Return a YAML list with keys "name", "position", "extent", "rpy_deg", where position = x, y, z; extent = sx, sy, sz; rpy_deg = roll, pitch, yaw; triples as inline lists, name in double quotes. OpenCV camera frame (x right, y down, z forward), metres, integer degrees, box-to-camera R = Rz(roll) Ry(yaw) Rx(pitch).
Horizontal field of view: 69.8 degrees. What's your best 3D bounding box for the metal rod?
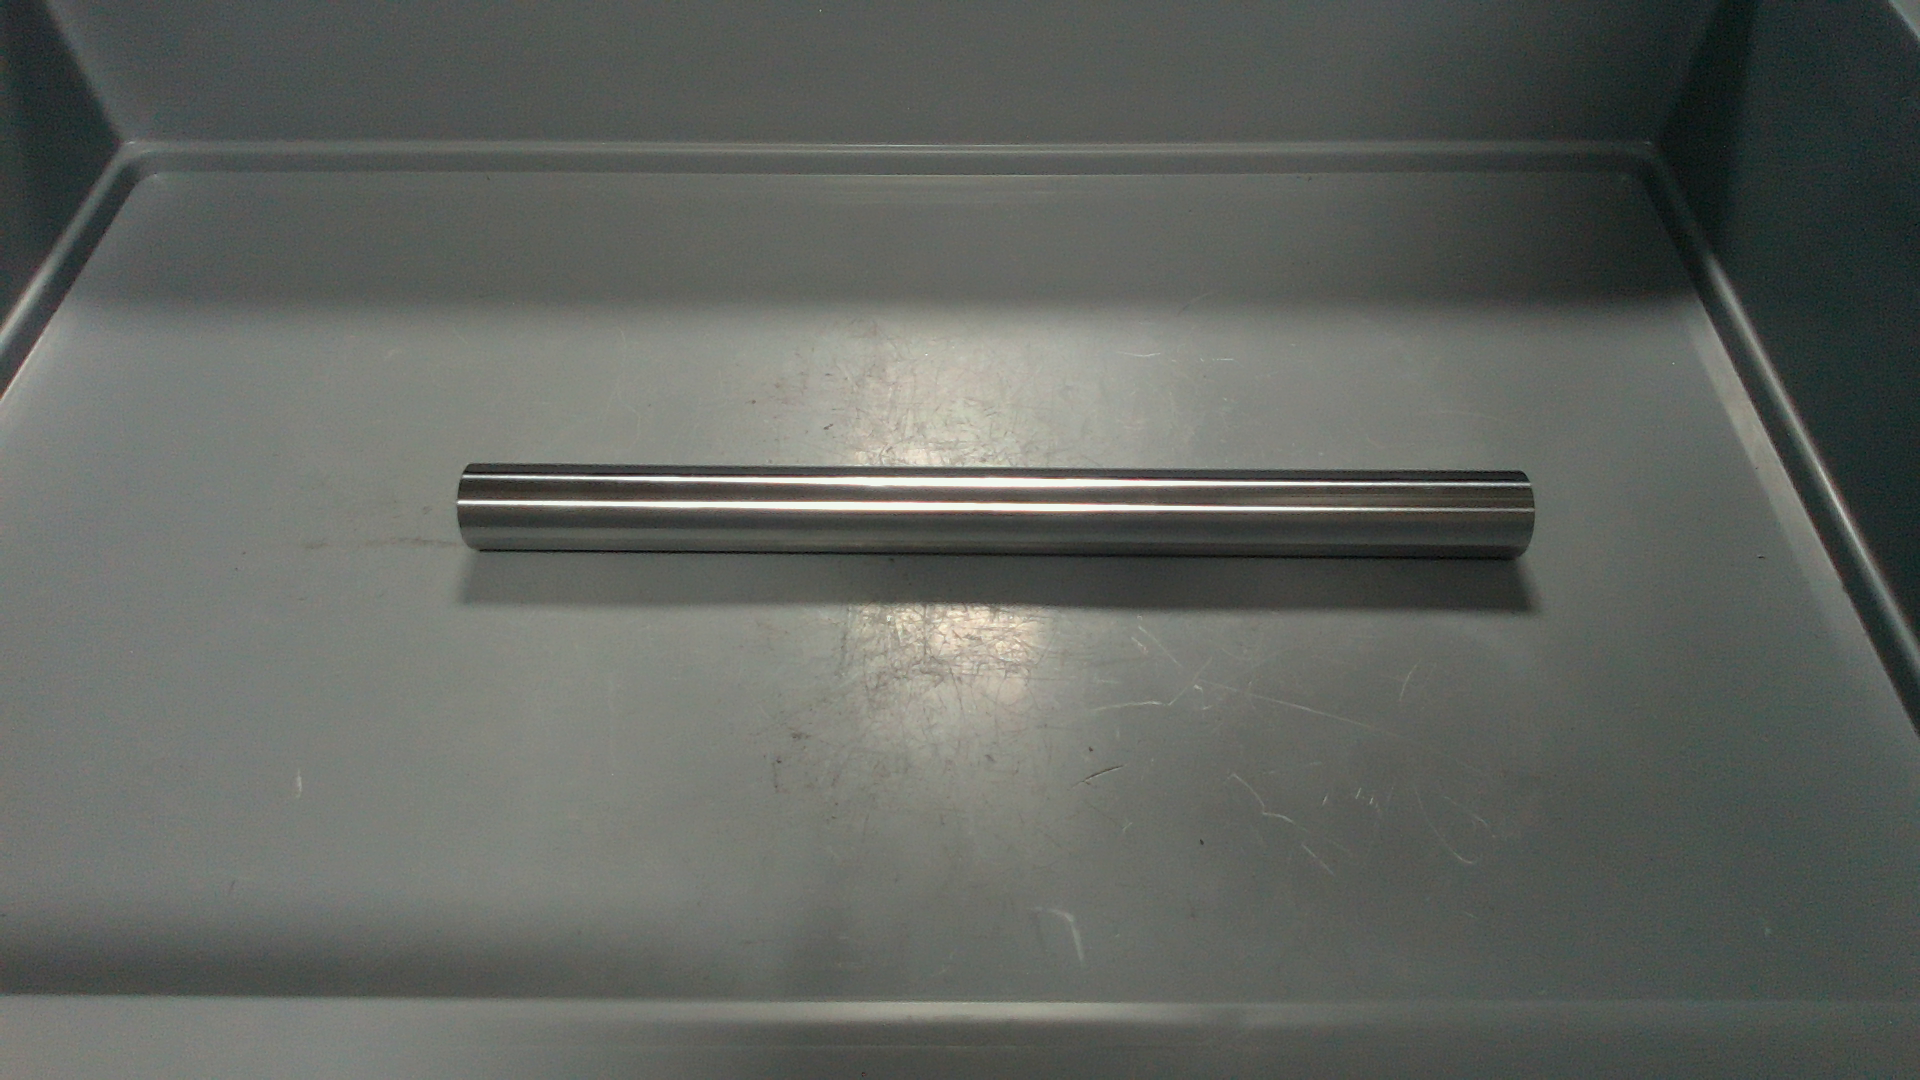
- name: "metal rod"
  position: [0.010, -0.009, 0.397]
  extent: [0.300, 0.025, 0.025]
  rpy_deg: [0, 50, 0]
